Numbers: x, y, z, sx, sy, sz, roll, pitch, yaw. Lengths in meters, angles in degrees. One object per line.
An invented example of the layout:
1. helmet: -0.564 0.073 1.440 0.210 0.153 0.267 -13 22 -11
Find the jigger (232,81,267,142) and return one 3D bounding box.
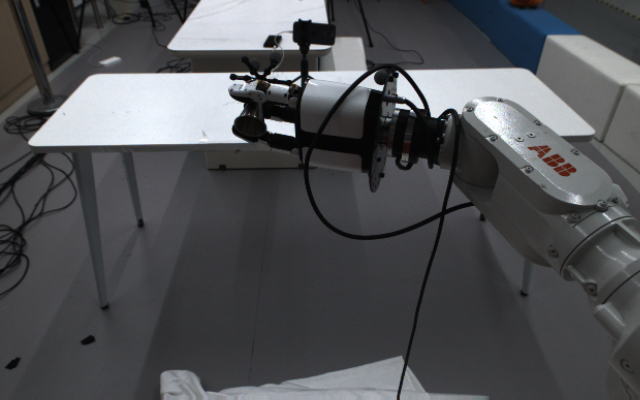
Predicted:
1. jigger: -0.092 -0.127 0.661 0.043 0.043 0.071 5 60 5
